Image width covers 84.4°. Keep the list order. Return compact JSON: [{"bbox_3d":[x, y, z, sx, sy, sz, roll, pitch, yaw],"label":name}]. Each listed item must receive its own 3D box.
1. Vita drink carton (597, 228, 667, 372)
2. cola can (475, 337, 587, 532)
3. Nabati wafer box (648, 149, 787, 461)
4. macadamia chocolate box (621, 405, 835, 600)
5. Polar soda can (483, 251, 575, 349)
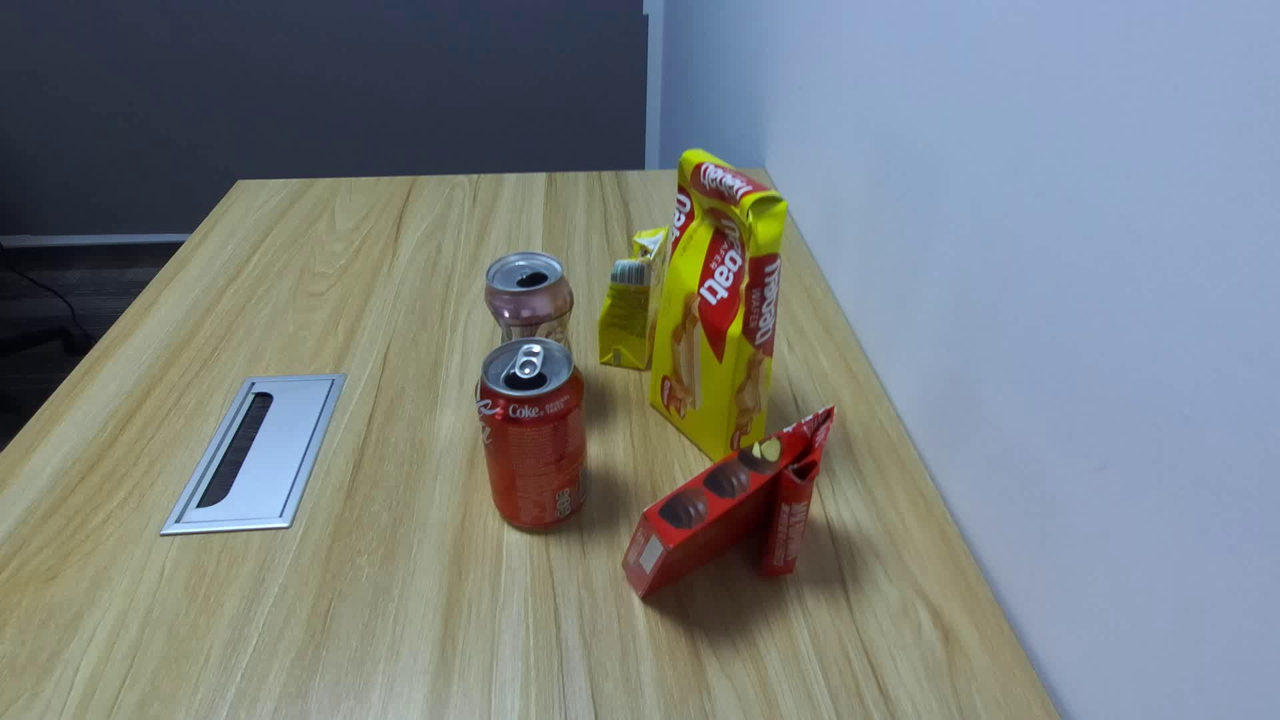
[{"bbox_3d":[-0.004,-0.054,0.587,0.046,0.110,0.071,12,39,11],"label":"Vita drink carton"},{"bbox_3d":[-0.068,0.048,0.455,0.068,0.120,0.067,1,38,0],"label":"cola can"},{"bbox_3d":[0.050,-0.030,0.484,0.043,0.205,0.113,-22,42,-28],"label":"Nabati wafer box"},{"bbox_3d":[0.054,0.087,0.411,0.127,0.112,0.056,-16,44,-21],"label":"macadamia chocolate box"},{"bbox_3d":[-0.082,-0.015,0.536,0.067,0.122,0.074,10,37,12],"label":"Polar soda can"}]
